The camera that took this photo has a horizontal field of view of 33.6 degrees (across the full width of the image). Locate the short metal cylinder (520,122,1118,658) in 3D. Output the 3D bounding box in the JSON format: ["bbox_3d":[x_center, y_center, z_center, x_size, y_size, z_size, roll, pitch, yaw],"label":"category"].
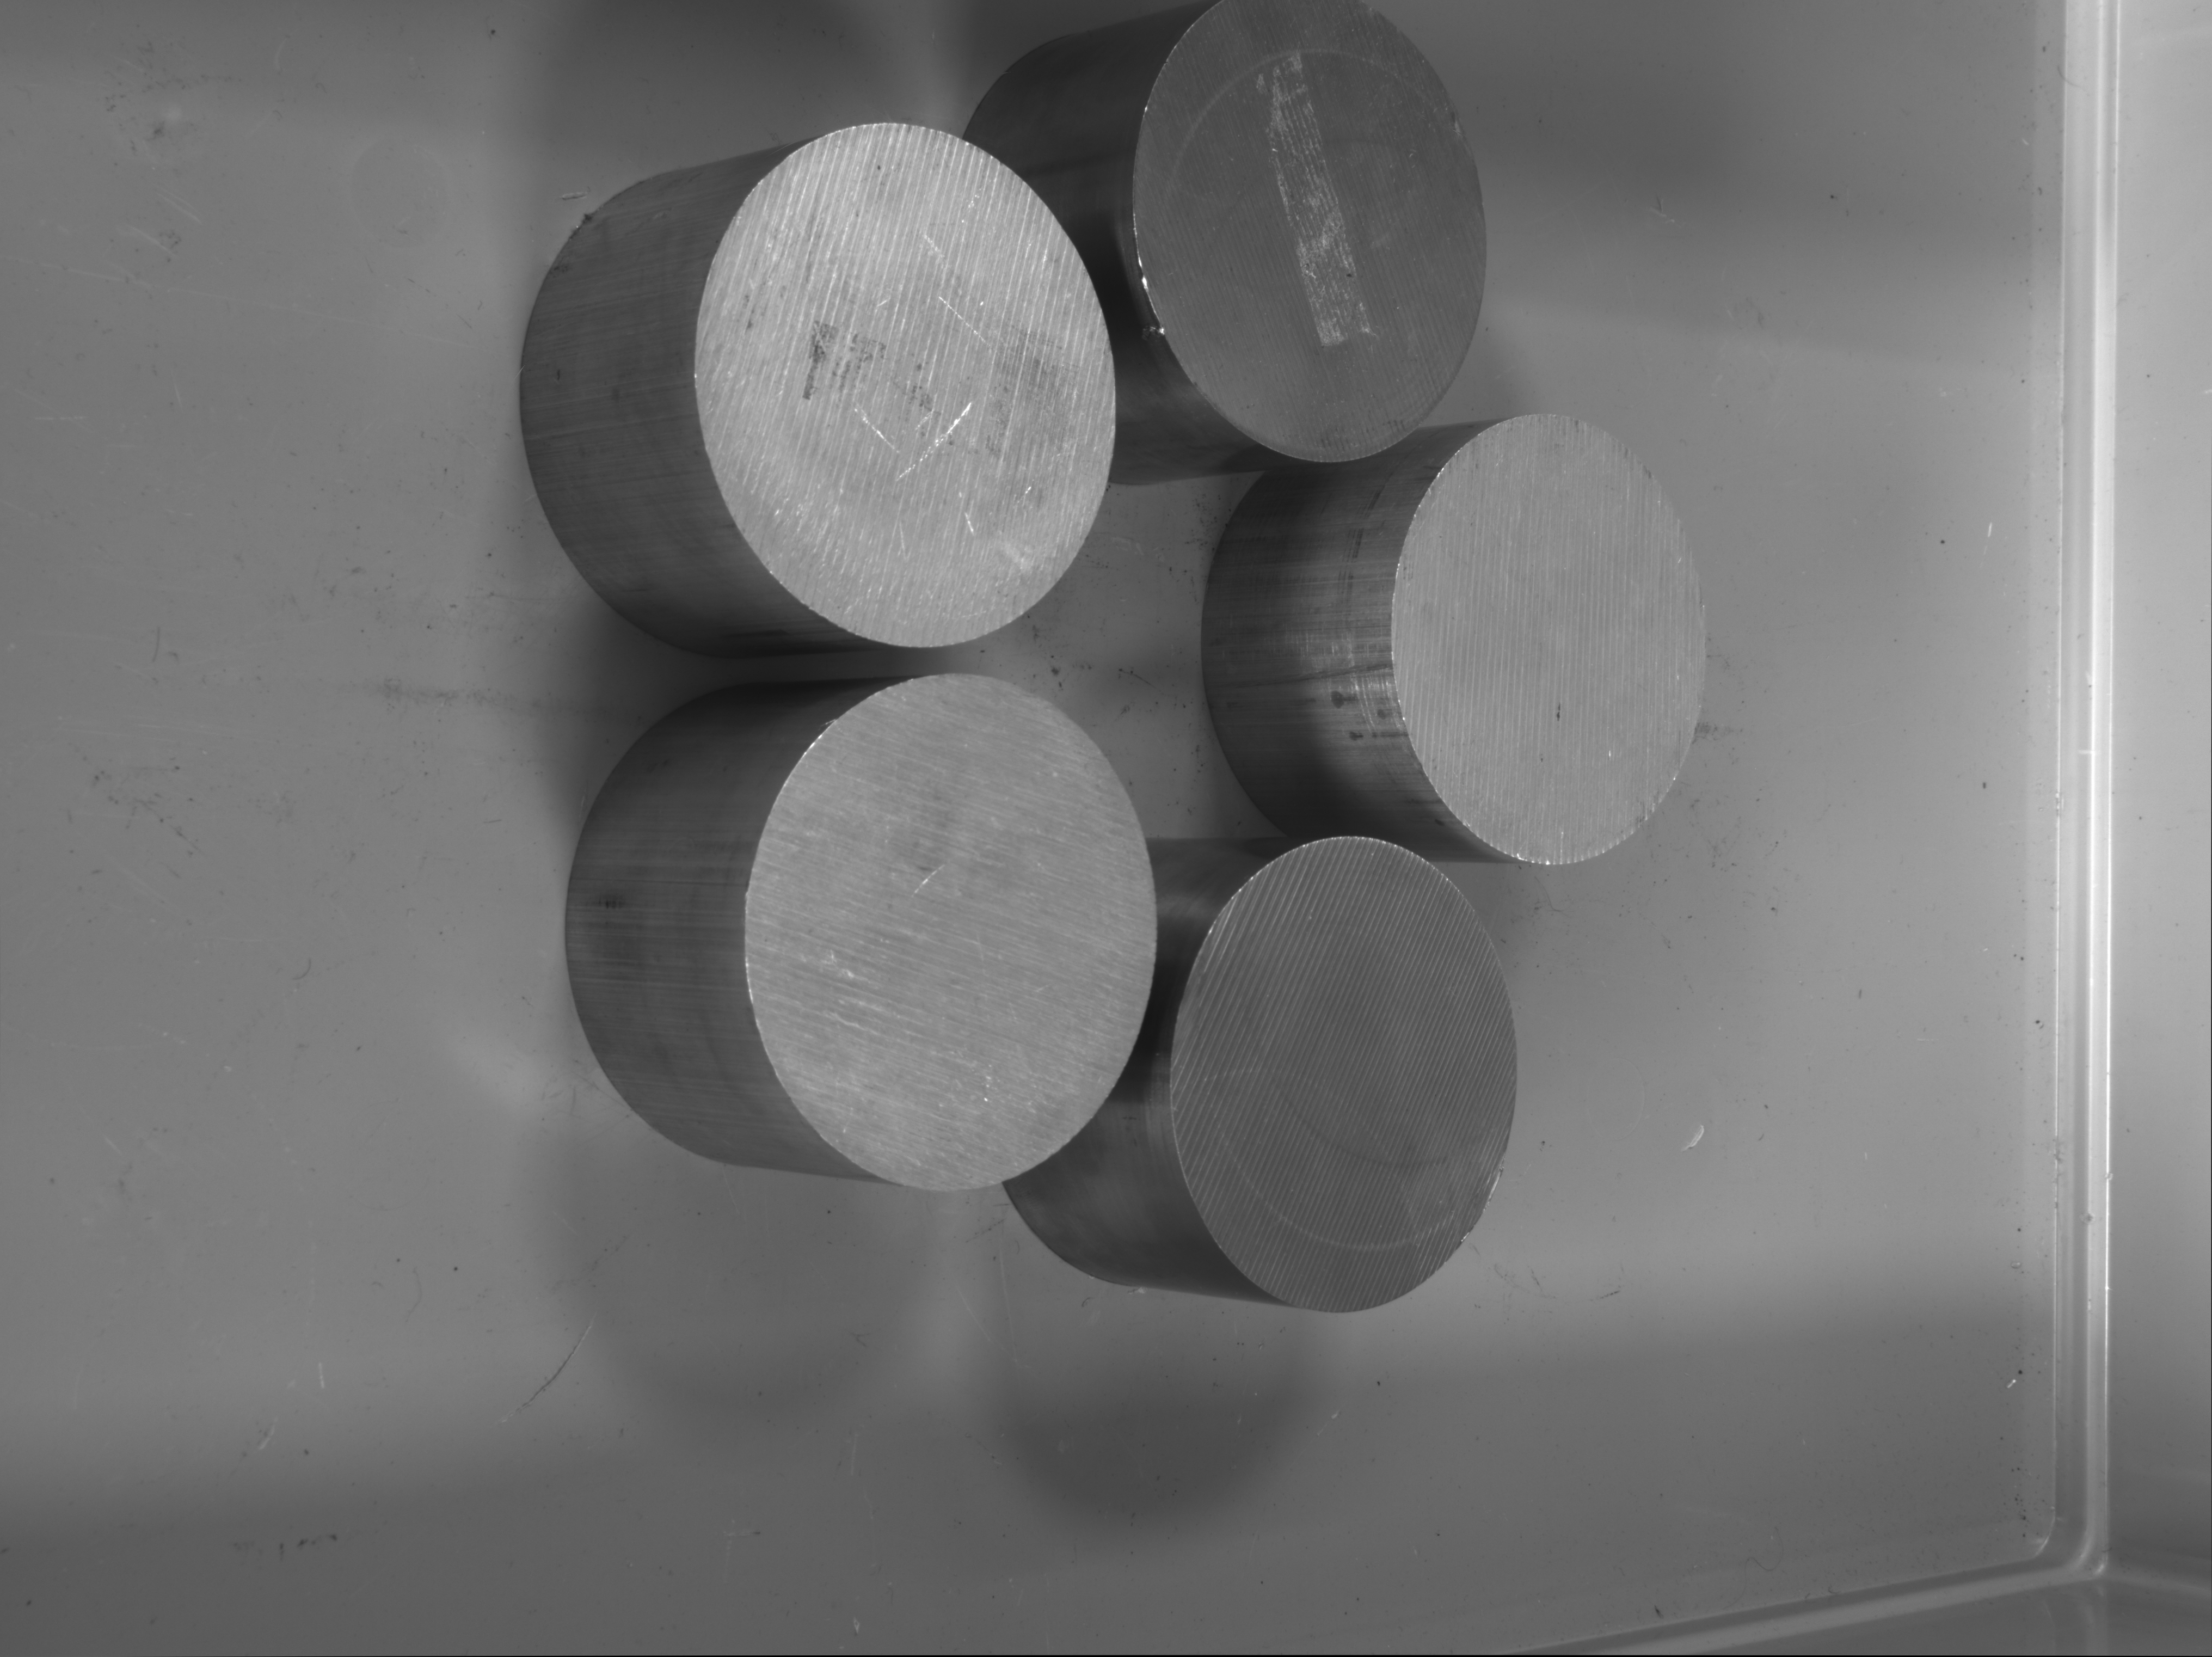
[{"bbox_3d":[-0.045,-0.068,0.580,0.080,0.050,0.080,0,90,-40],"label":"short metal cylinder"}]

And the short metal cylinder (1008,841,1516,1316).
[{"bbox_3d":[0.025,0.042,0.638,0.080,0.050,0.080,0,90,-40],"label":"short metal cylinder"}]

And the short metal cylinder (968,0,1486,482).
[{"bbox_3d":[0.020,-0.102,0.634,0.080,0.050,0.080,0,90,-40],"label":"short metal cylinder"}]

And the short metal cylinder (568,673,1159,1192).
[{"bbox_3d":[-0.038,0.016,0.586,0.080,0.050,0.080,0,90,-40],"label":"short metal cylinder"}]

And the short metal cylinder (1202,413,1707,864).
[{"bbox_3d":[0.064,-0.034,0.671,0.080,0.050,0.080,0,90,-40],"label":"short metal cylinder"}]
